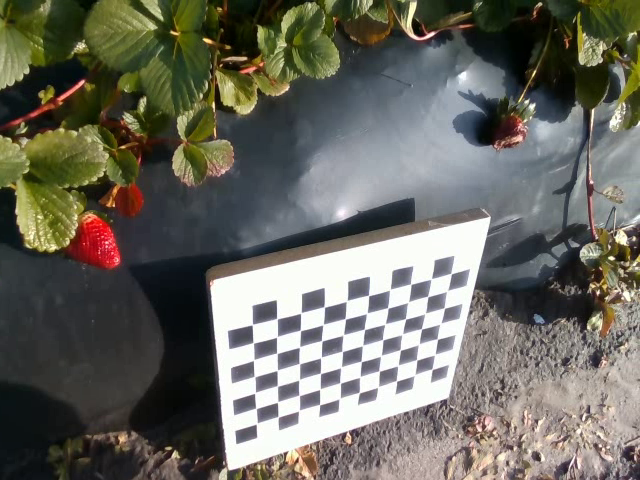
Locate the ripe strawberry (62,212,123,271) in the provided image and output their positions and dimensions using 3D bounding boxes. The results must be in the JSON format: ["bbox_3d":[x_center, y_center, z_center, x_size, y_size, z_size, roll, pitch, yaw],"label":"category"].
[{"bbox_3d":[-0.175,0.005,0.527,0.056,0.040,0.041,42,17,3],"label":"ripe strawberry"}]
